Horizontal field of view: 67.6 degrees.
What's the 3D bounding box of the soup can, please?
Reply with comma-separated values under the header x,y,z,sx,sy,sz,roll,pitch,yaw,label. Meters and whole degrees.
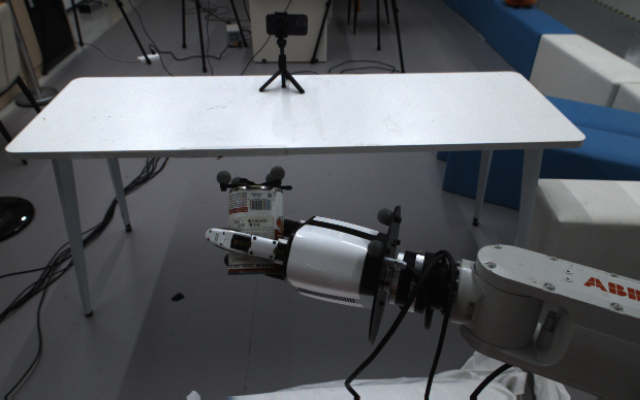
x,y,z,sx,sy,sz,roll,pitch,yaw,label
-0.075,0.040,0.582,0.067,0.101,0.067,-1,-9,0,soup can
